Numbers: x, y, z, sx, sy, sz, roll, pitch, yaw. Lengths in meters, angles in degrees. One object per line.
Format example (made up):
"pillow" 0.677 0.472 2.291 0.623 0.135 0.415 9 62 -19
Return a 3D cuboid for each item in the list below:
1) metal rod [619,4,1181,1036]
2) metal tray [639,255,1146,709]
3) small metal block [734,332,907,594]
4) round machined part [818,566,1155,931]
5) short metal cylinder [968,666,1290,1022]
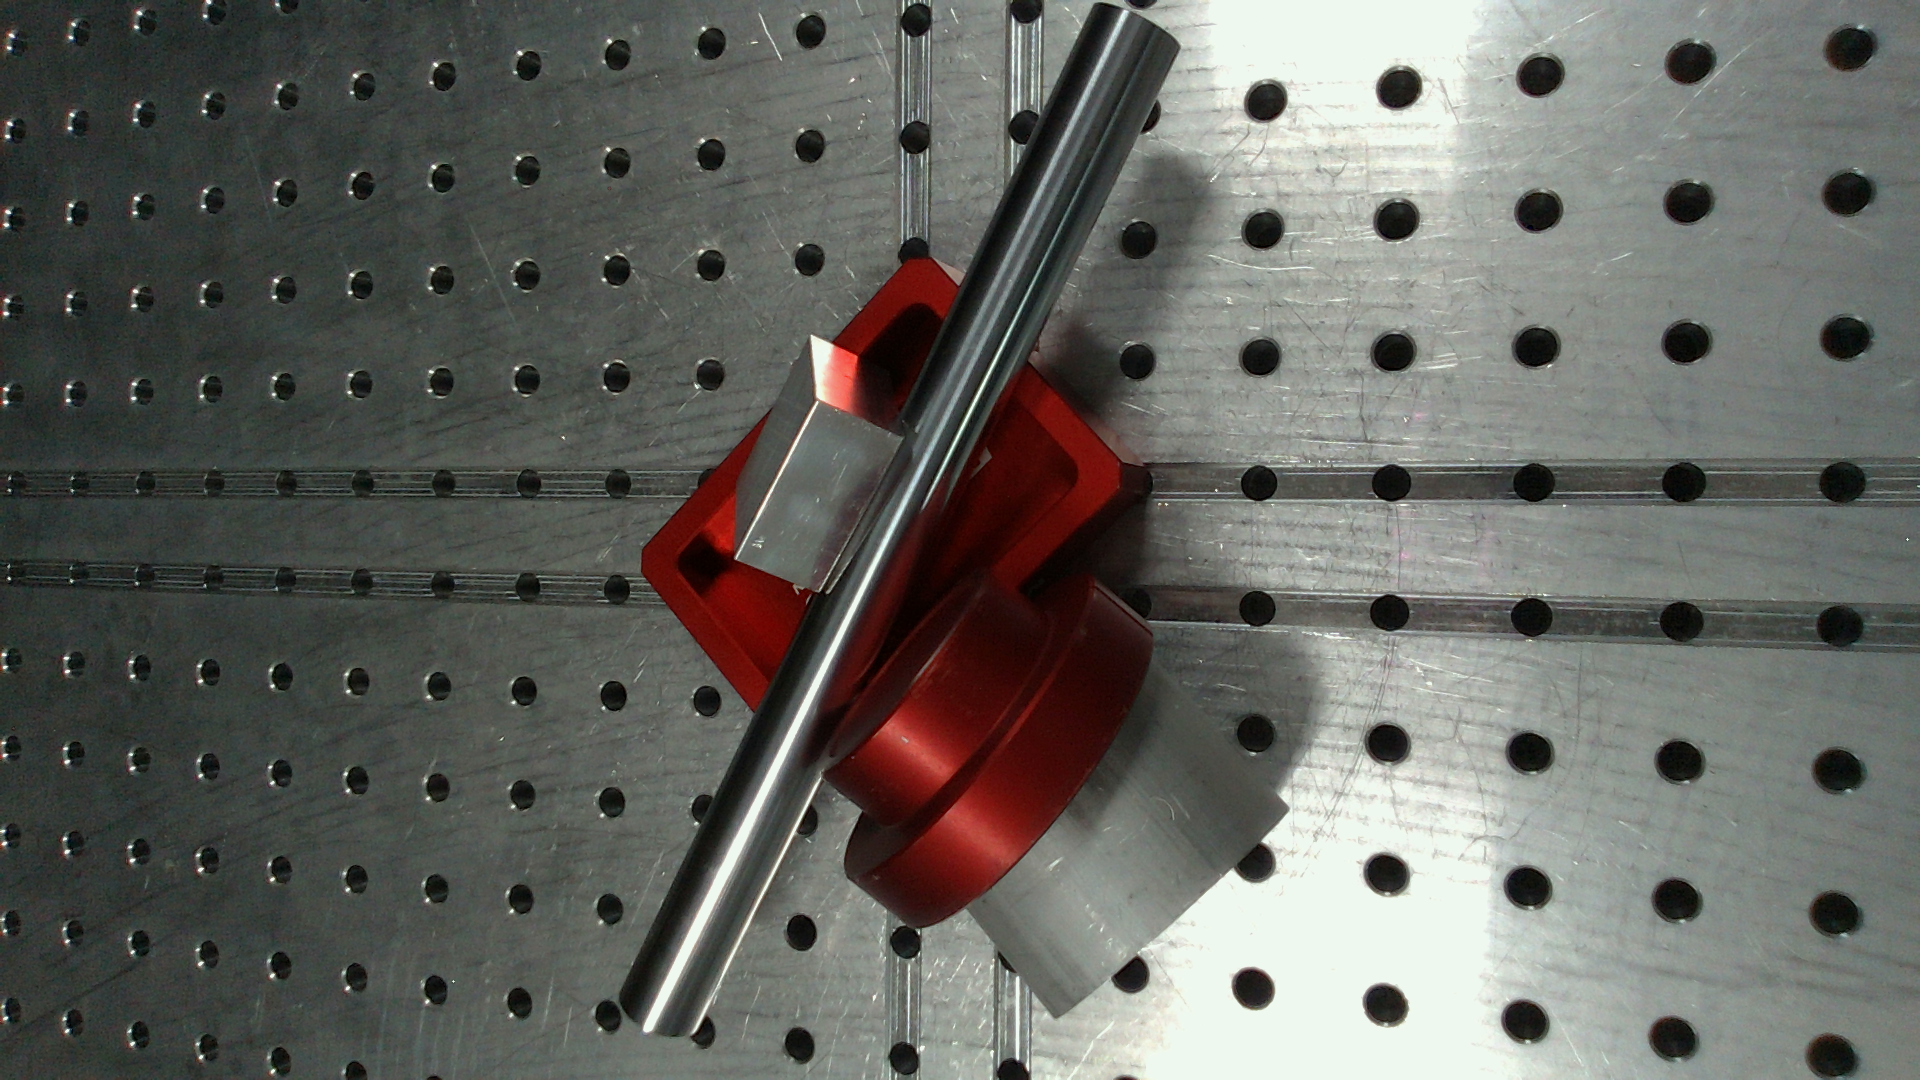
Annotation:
"metal rod" -0.021 0.003 0.374 0.025 0.025 0.300 29 100 18
"metal tray" -0.022 -0.006 0.403 0.130 0.030 0.090 -45 76 14
"small metal block" -0.040 -0.022 0.376 0.025 0.050 0.050 23 112 -19
"round machined part" 0.001 0.046 0.348 0.042 0.098 0.098 40 104 -7
"short metal cylinder" 0.038 0.077 0.354 0.080 0.080 0.050 -45 76 14
